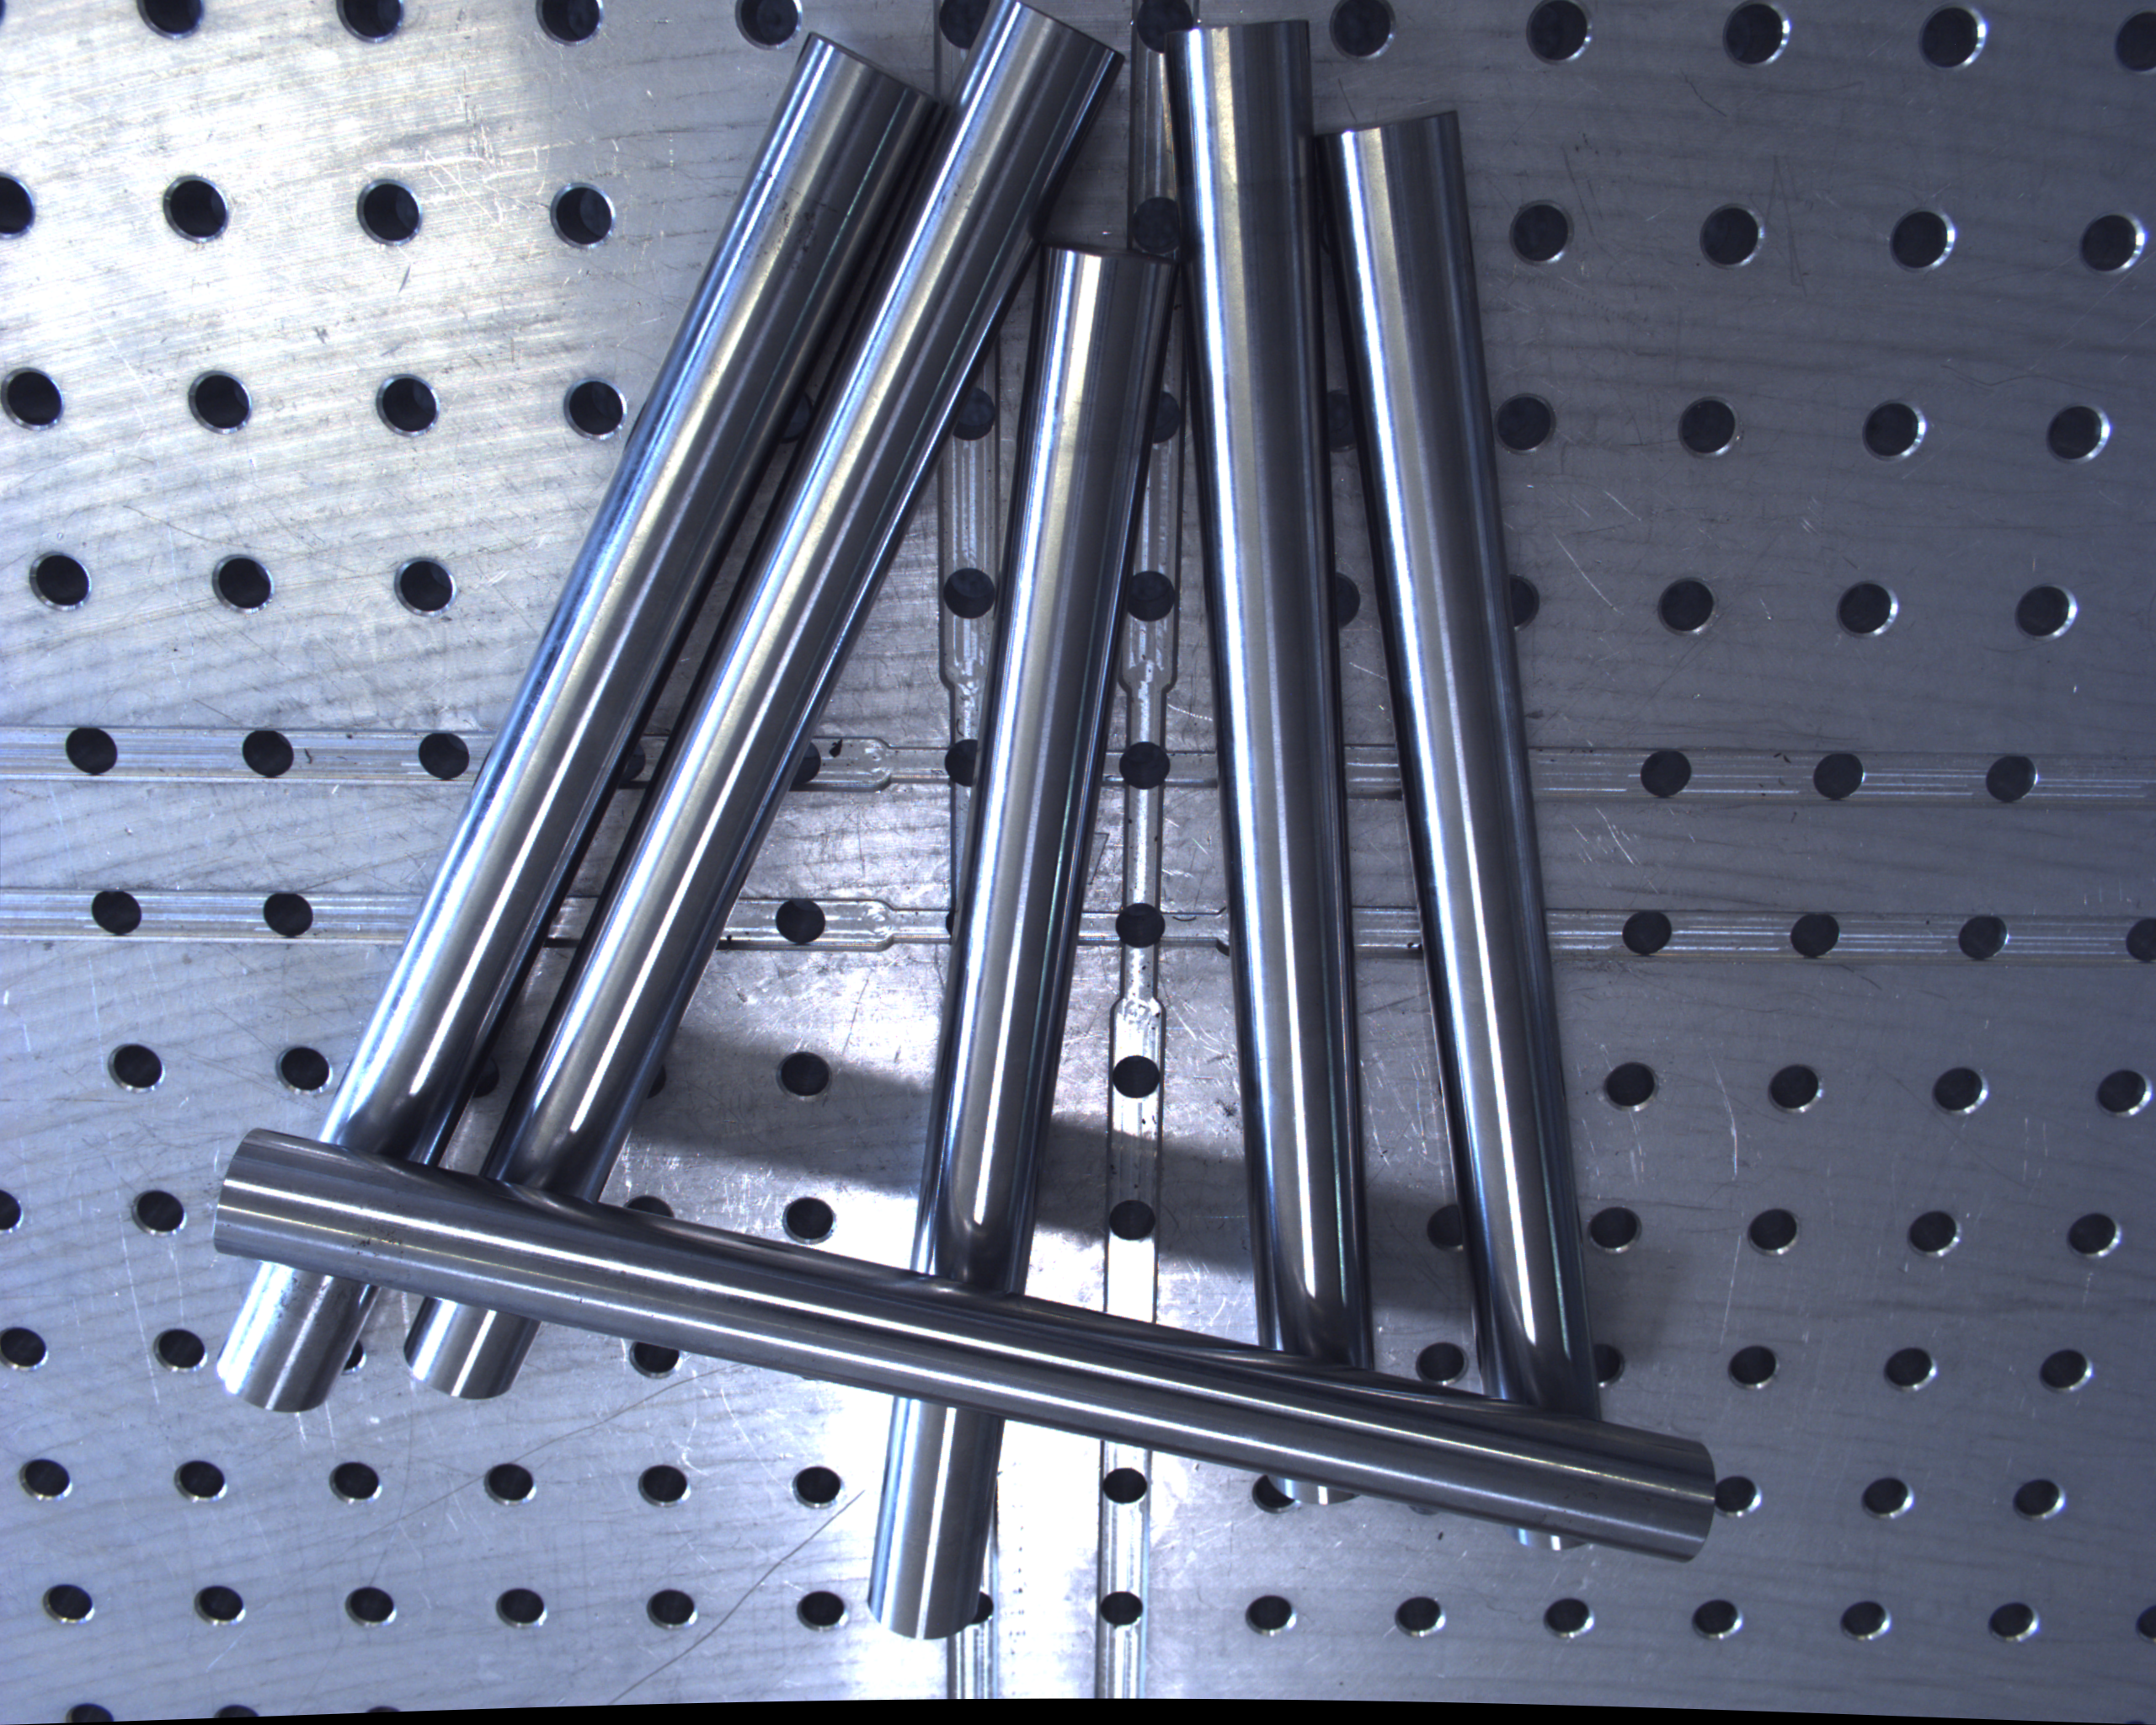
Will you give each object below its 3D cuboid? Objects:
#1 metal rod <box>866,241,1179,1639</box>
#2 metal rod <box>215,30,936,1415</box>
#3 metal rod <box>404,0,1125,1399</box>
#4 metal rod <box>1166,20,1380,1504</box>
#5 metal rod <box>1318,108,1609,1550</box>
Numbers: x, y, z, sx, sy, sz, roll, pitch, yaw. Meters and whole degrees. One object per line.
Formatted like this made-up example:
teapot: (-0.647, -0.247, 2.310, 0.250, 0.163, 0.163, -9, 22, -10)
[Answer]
metal rod: (-0.015, 0.029, 0.424, 0.025, 0.025, 0.298, 7, 110, -3)
metal rod: (-0.105, -0.014, 0.407, 0.025, 0.025, 0.298, 26, 108, -9)
metal rod: (-0.068, -0.019, 0.406, 0.025, 0.025, 0.298, 24, 108, -9)
metal rod: (0.041, -0.005, 0.412, 0.025, 0.025, 0.298, -5, 110, 2)
metal rod: (0.080, 0.008, 0.417, 0.025, 0.025, 0.298, -9, 110, 3)
